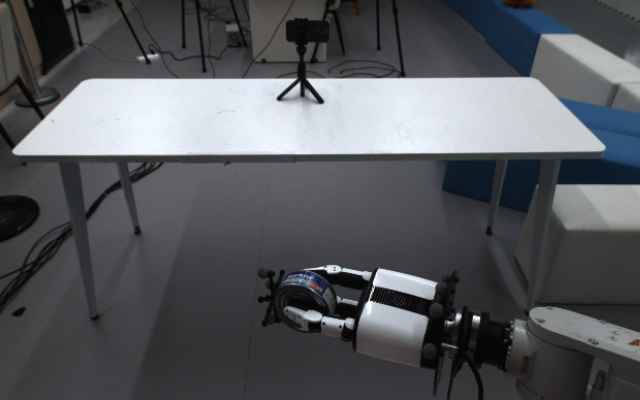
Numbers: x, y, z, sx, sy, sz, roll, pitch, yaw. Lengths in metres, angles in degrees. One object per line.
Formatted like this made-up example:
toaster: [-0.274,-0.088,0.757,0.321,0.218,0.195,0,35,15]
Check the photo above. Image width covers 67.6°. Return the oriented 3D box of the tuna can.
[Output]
tuna can: [-0.018,0.145,0.671,0.085,0.085,0.034,12,28,14]
